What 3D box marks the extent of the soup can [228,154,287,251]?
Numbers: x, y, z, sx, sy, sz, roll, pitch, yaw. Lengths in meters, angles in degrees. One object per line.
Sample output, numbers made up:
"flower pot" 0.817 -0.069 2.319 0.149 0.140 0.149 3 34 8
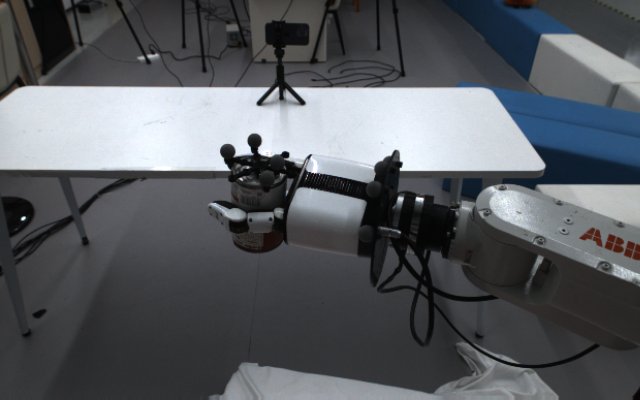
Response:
"soup can" -0.074 0.006 0.592 0.067 0.101 0.067 5 37 -4
